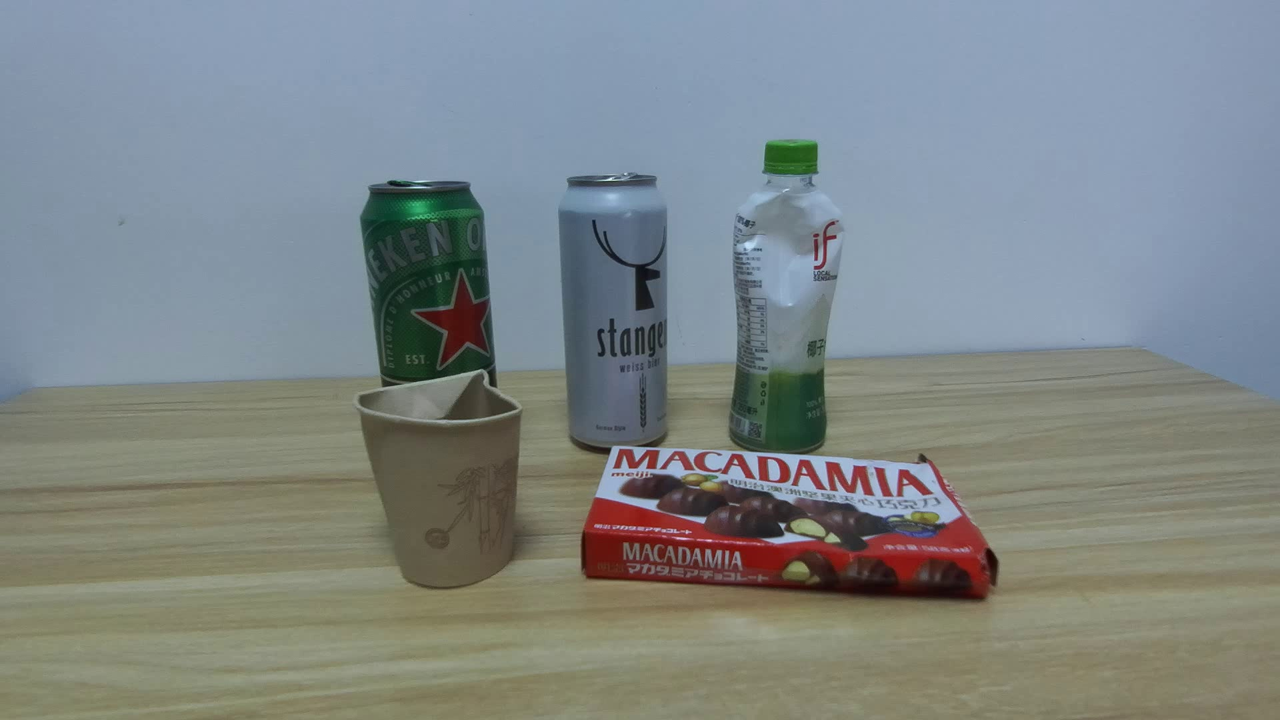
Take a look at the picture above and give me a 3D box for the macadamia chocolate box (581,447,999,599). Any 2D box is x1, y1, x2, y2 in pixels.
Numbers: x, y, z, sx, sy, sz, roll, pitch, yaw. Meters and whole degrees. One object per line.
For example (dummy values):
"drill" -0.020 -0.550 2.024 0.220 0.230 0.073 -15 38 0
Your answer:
"macadamia chocolate box" 0.069 0.076 0.351 0.183 0.028 0.106 1 17 4

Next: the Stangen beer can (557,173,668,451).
"Stangen beer can" -0.015 -0.028 0.448 0.067 0.171 0.067 0 14 0

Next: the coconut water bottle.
"coconut water bottle" 0.089 -0.038 0.436 0.069 0.187 0.069 1 17 0

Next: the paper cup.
"paper cup" -0.090 0.056 0.327 0.066 0.084 0.071 -8 18 -27

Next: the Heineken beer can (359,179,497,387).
"Heineken beer can" -0.120 -0.016 0.414 0.067 0.169 0.067 -1 18 1
